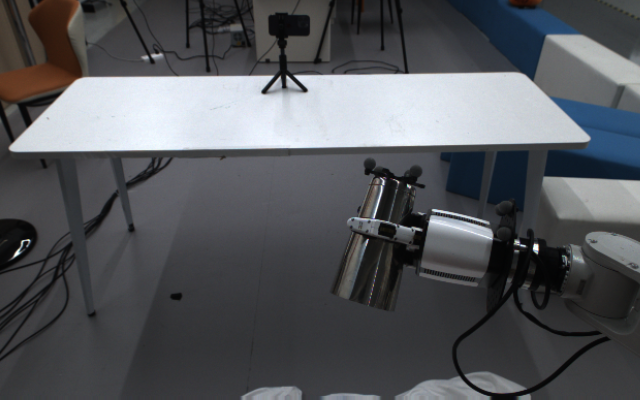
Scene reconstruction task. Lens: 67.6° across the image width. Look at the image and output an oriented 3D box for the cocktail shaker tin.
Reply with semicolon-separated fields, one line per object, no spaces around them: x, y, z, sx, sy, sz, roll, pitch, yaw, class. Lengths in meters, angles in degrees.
0.080;0.058;0.674;0.093;0.170;0.093;16;-6;2;cocktail shaker tin
